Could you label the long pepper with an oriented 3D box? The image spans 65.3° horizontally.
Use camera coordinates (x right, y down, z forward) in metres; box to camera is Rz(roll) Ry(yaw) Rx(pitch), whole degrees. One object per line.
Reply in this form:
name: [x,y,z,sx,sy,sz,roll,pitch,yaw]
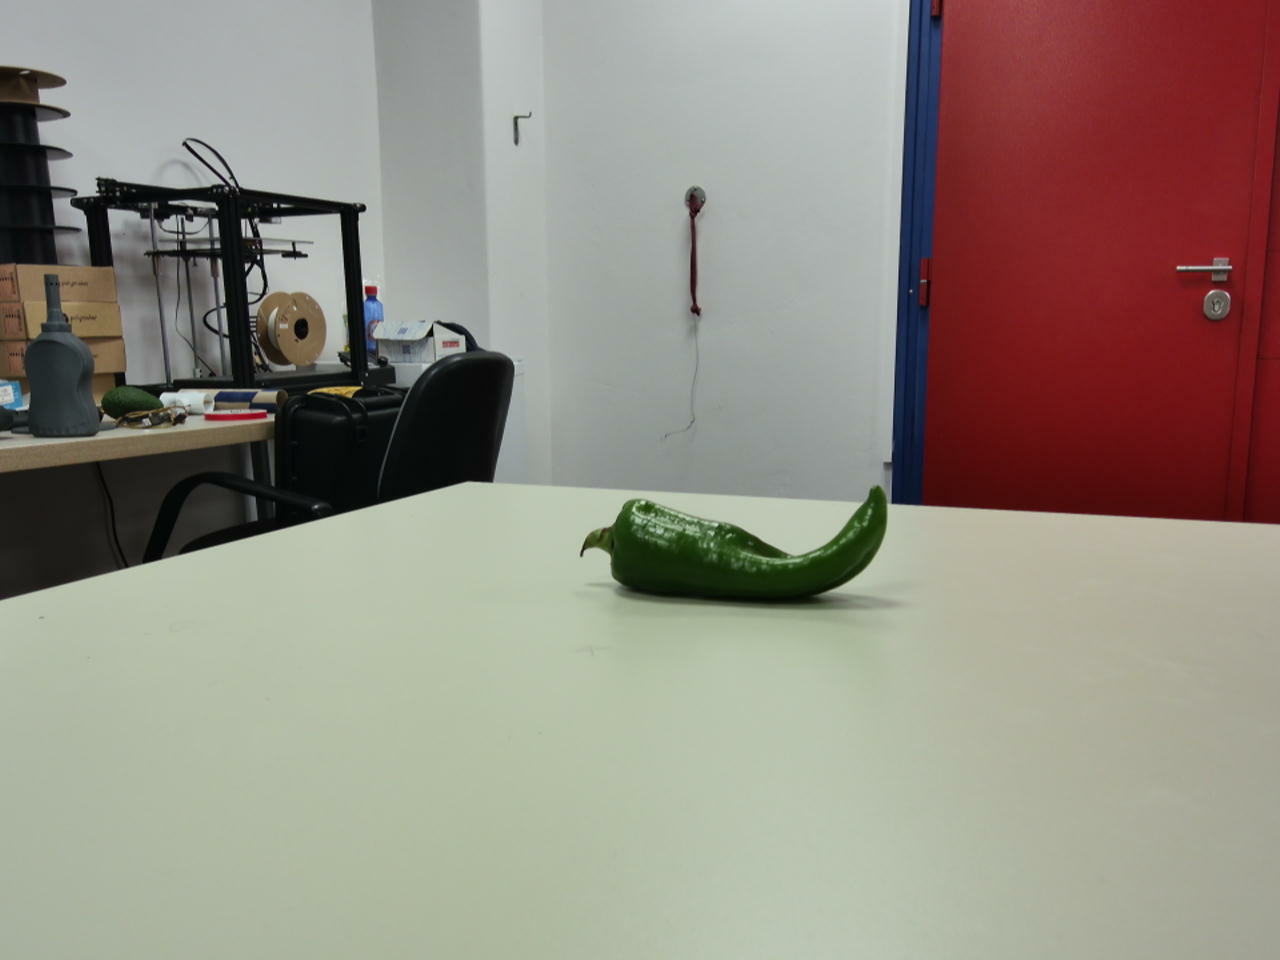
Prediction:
long pepper: [0.048,0.032,0.559,0.175,0.065,0.058,3,6,22]
